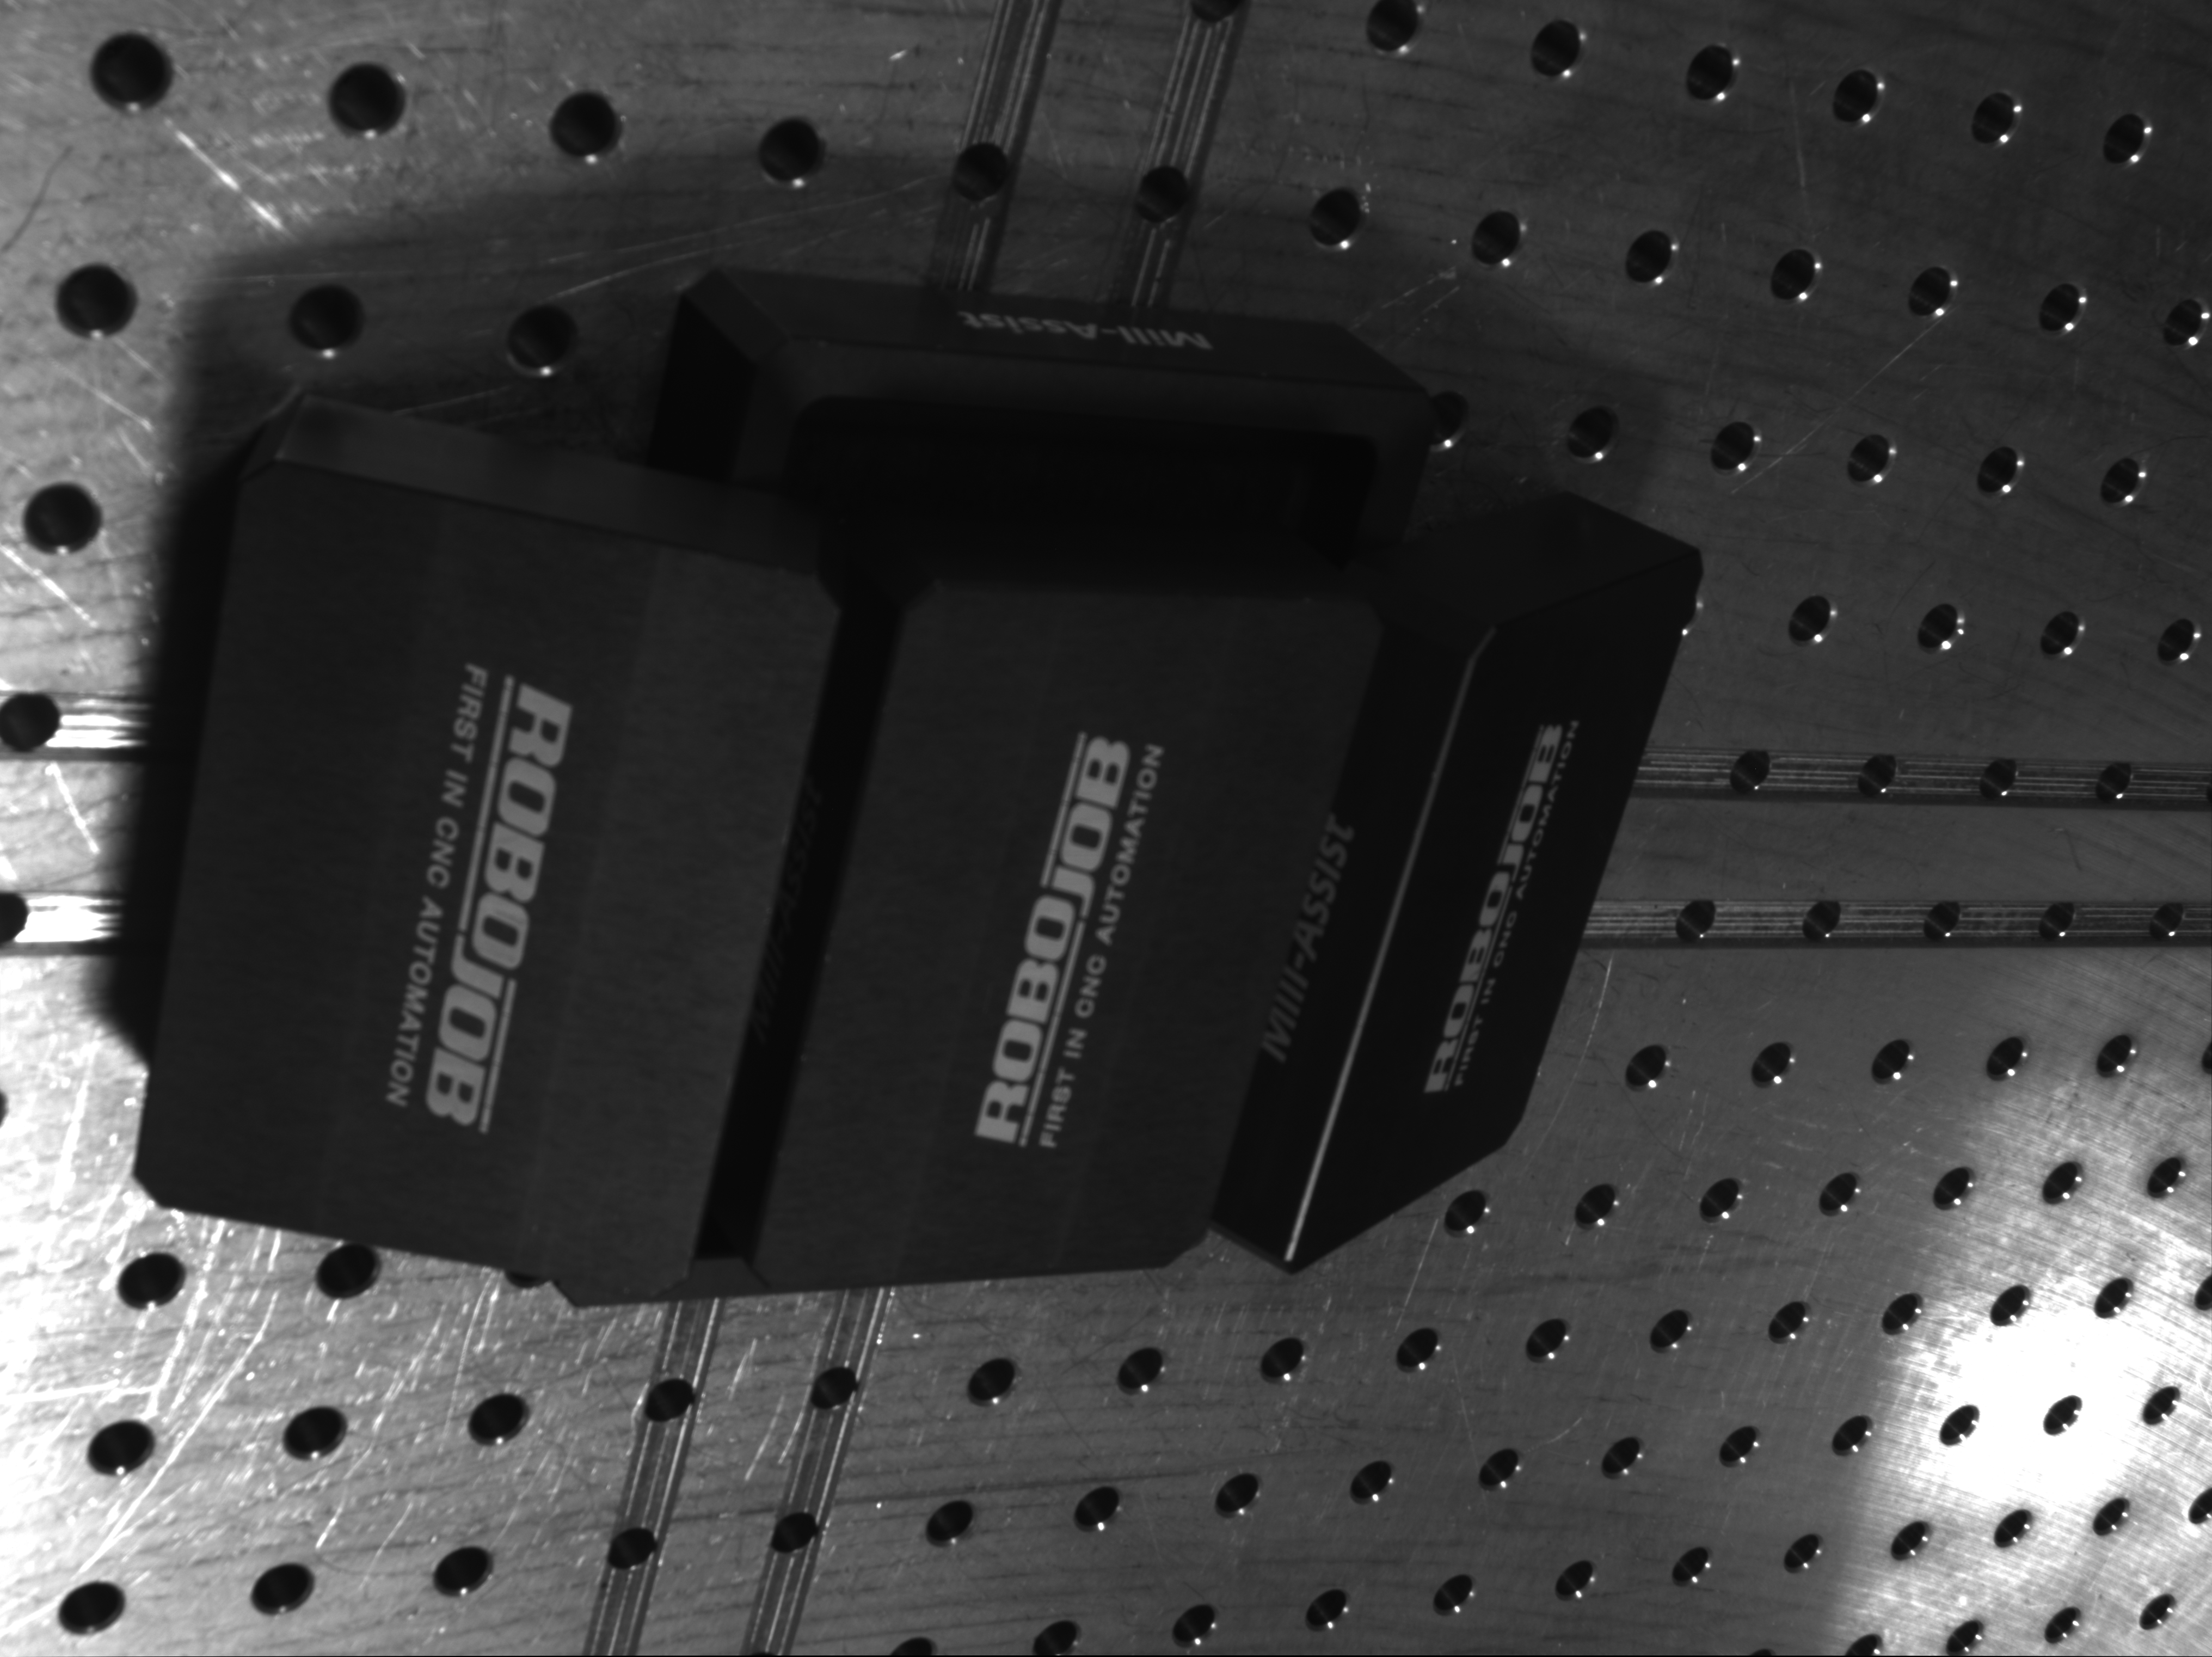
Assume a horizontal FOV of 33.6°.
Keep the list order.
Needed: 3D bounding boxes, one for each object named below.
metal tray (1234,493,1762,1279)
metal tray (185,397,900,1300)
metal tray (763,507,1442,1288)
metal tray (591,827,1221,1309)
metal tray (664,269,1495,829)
[{"bbox_3d":[0.071,0.009,0.673,0.090,0.030,0.130,-21,133,-52],"label":"metal tray"},{"bbox_3d":[-0.090,0.006,0.578,0.090,0.030,0.130,12,115,-7],"label":"metal tray"},{"bbox_3d":[-0.004,0.013,0.617,0.090,0.030,0.130,0,118,-30],"label":"metal tray"},{"bbox_3d":[-0.027,0.038,0.659,0.130,0.030,0.090,0,118,-30],"label":"metal tray"},{"bbox_3d":[-0.006,-0.042,0.621,0.130,0.030,0.090,0,118,-30],"label":"metal tray"}]
